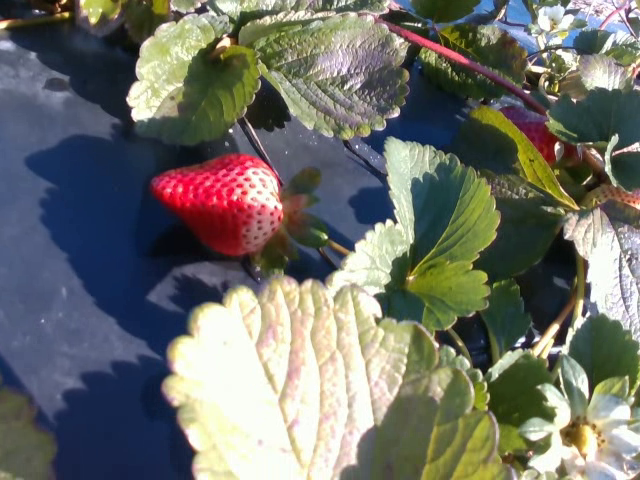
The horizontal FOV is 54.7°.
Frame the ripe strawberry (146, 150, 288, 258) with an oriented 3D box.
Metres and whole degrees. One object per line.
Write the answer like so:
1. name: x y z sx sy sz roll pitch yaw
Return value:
1. ripe strawberry: -0.034 -0.012 0.208 0.055 0.042 0.044 12 -7 -27
